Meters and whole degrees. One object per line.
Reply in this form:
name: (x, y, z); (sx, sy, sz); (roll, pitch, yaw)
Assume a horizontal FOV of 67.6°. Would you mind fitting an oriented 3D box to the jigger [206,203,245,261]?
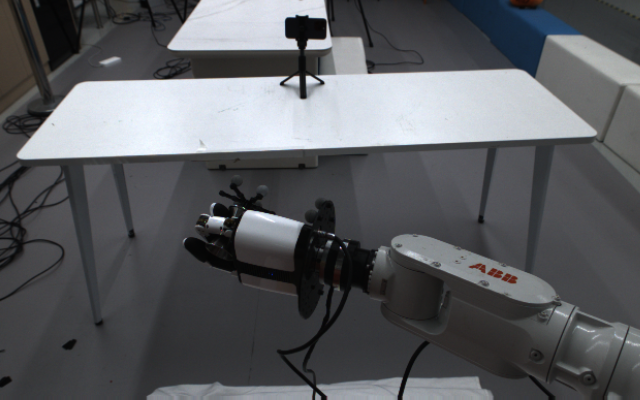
jigger: (-0.124, 0.043, 0.675); (0.043, 0.043, 0.071); (15, 58, 18)
